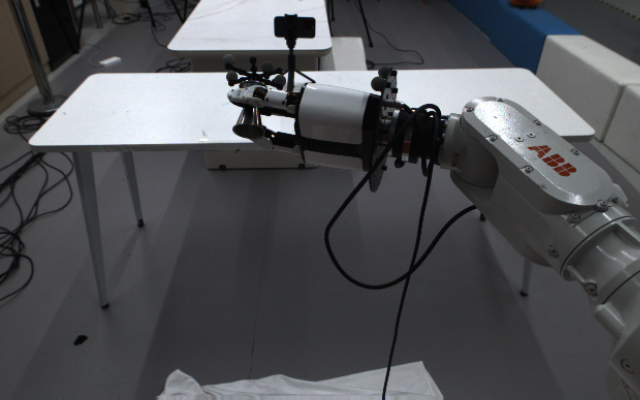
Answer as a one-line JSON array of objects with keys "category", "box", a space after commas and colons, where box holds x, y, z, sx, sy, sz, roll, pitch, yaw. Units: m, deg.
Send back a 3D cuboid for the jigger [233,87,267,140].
[{"category": "jigger", "box": [-0.096, -0.125, 0.662, 0.043, 0.043, 0.071, 3, 72, 1]}]
